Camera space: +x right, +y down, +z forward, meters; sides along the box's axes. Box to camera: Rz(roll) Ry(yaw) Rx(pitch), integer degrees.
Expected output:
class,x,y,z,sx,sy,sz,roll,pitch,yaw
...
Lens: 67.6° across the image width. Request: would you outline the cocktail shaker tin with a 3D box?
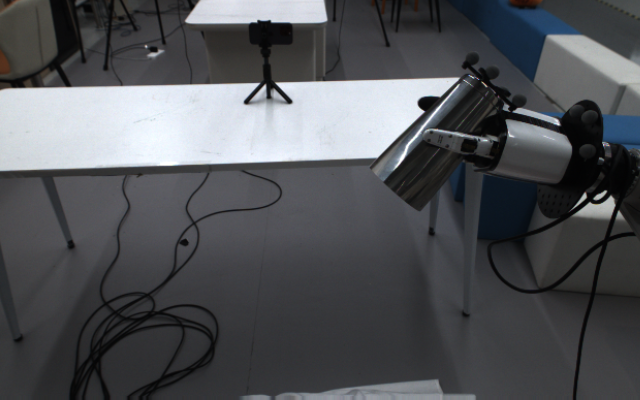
class,x,y,z,sx,sy,sz,roll,pitch,yaw
cocktail shaker tin,0.156,-0.082,0.637,0.093,0.170,0.093,41,12,-11
